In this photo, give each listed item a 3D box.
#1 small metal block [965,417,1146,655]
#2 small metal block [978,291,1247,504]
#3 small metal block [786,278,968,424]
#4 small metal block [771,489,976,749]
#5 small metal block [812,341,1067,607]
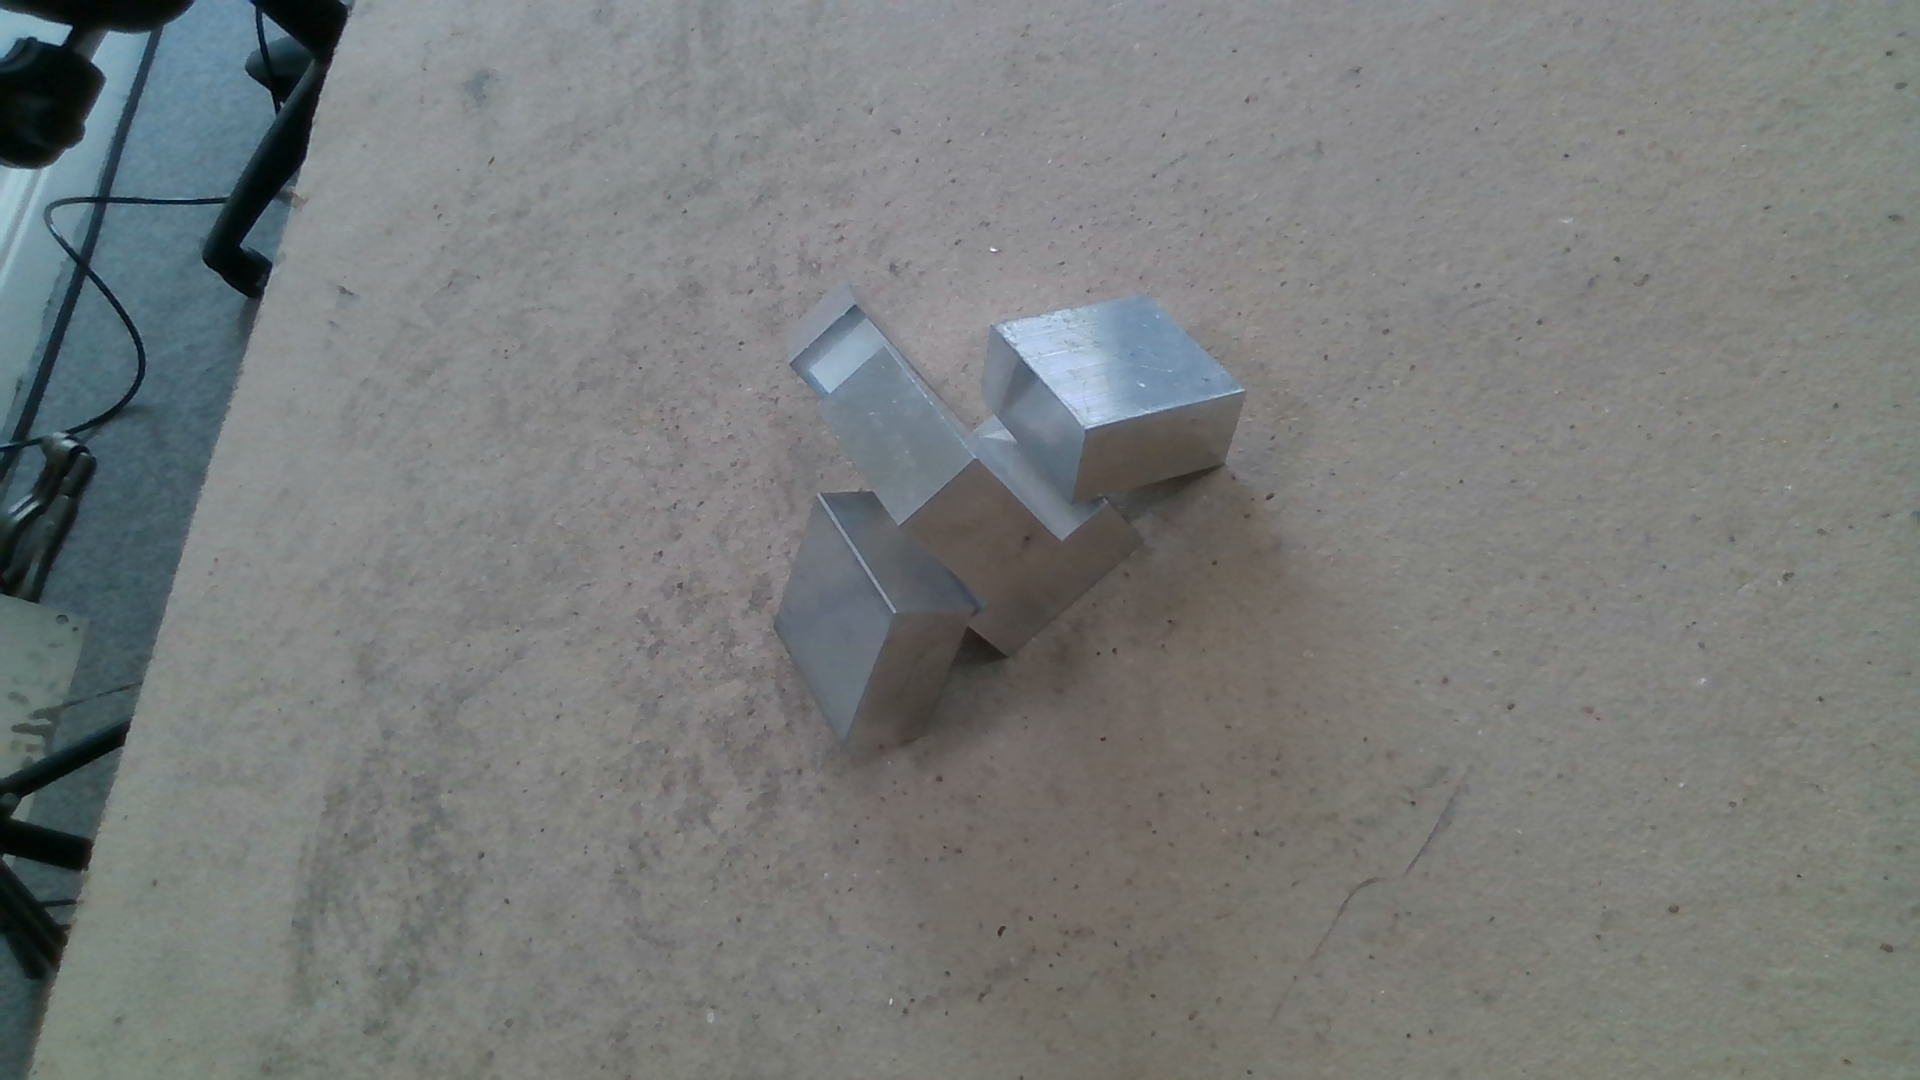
[{"bbox_3d":[0.015,-0.005,0.387,0.050,0.025,0.050,-41,49,6],"label":"small metal block"},{"bbox_3d":[0.040,-0.040,0.373,0.050,0.025,0.050,-15,47,-24],"label":"small metal block"},{"bbox_3d":[-0.025,-0.048,0.406,0.025,0.050,0.050,-41,19,7],"label":"small metal block"},{"bbox_3d":[-0.026,0.021,0.382,0.050,0.025,0.050,53,134,39],"label":"small metal block"},{"bbox_3d":[-0.005,-0.017,0.357,0.025,0.050,0.050,-42,51,7],"label":"small metal block"}]
